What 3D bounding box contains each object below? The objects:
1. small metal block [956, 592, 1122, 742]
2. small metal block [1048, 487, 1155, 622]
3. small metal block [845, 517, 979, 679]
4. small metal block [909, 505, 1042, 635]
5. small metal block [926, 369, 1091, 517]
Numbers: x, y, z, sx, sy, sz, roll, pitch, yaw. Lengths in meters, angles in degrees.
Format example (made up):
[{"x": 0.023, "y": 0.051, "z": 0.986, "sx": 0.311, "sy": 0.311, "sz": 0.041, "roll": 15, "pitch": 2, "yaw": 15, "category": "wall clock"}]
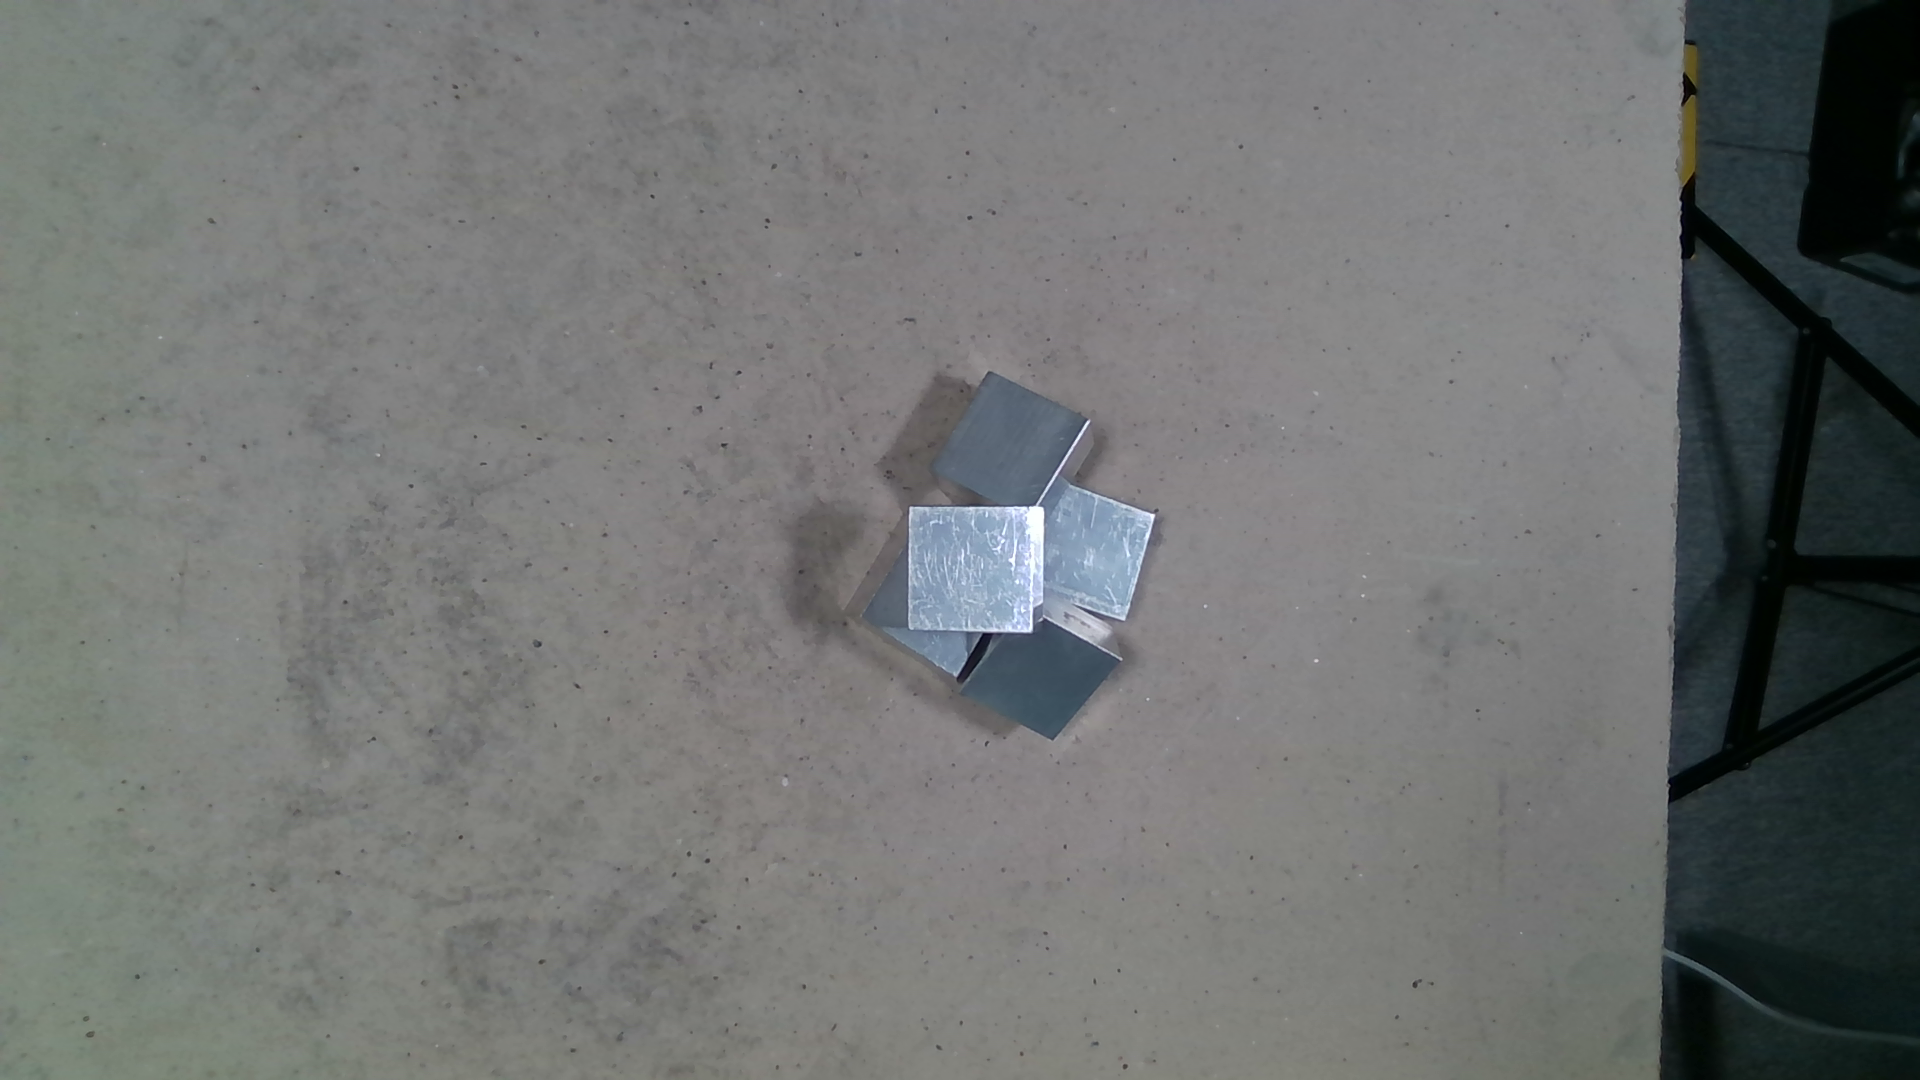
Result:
[{"x": 0.032, "y": 0.051, "z": 0.586, "sx": 0.050, "sy": 0.025, "sz": 0.050, "roll": 29, "pitch": 114, "yaw": -18, "category": "small metal block"}, {"x": 0.052, "y": 0.005, "z": 0.606, "sx": 0.050, "sy": 0.025, "sz": 0.050, "roll": 18, "pitch": 84, "yaw": -19, "category": "small metal block"}, {"x": -0.013, "y": 0.023, "z": 0.582, "sx": 0.050, "sy": 0.025, "sz": 0.050, "roll": 34, "pitch": 79, "yaw": -17, "category": "small metal block"}, {"x": 0.007, "y": 0.012, "z": 0.550, "sx": 0.050, "sy": 0.025, "sz": 0.050, "roll": 0, "pitch": 90, "yaw": 12, "category": "small metal block"}, {"x": 0.022, "y": -0.036, "z": 0.582, "sx": 0.050, "sy": 0.025, "sz": 0.050, "roll": 28, "pitch": 79, "yaw": 18, "category": "small metal block"}]
